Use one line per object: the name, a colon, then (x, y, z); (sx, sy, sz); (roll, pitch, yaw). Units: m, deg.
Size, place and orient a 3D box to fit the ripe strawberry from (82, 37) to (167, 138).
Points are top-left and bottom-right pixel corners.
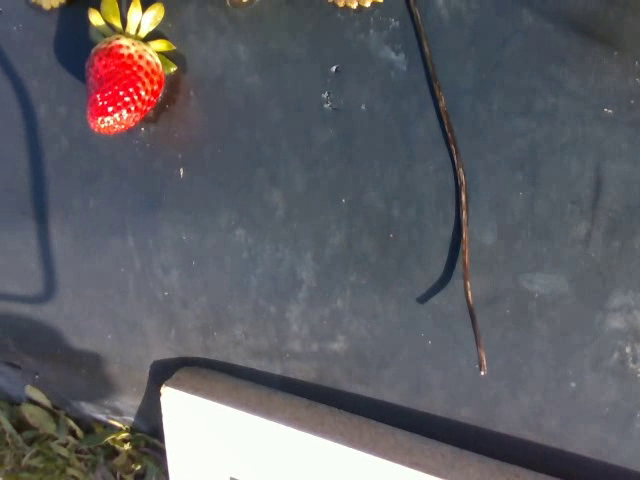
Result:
ripe strawberry: (-0.065, -0.048, 0.191); (0.028, 0.041, 0.031); (-14, -42, 31)
